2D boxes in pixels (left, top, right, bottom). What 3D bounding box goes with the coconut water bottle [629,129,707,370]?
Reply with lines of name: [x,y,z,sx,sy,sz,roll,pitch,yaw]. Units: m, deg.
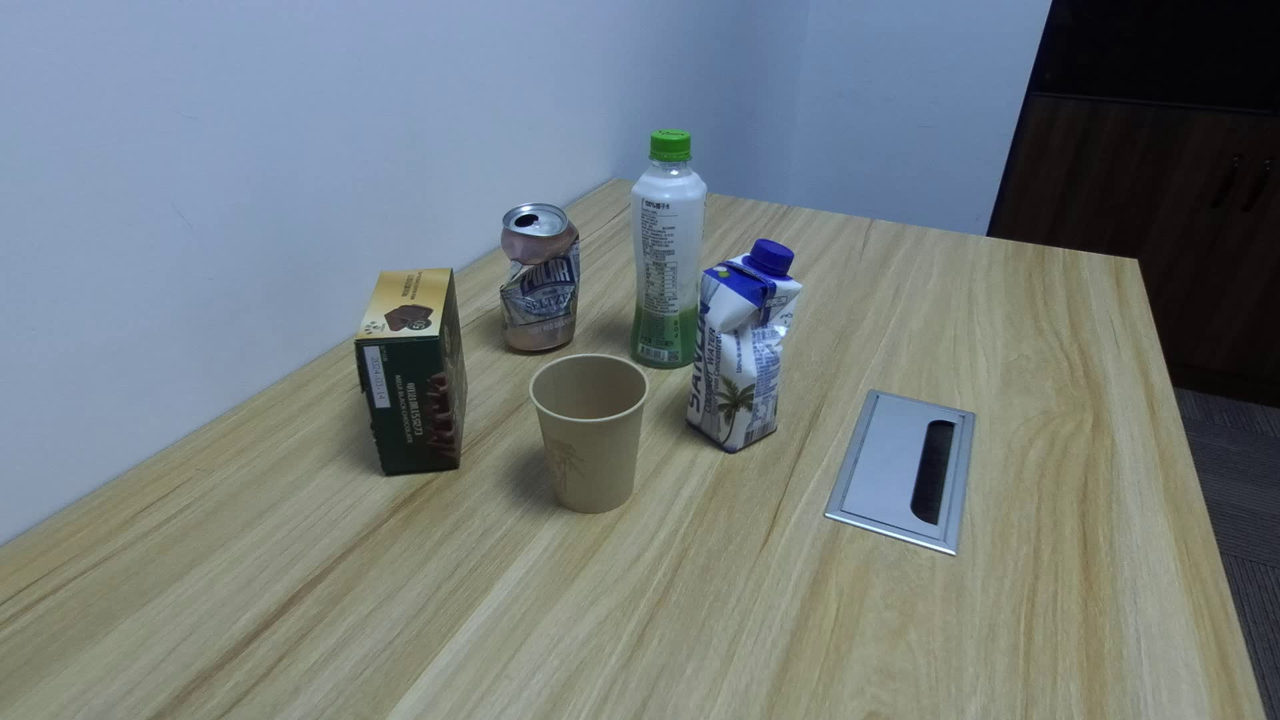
coconut water bottle: [0.025,-0.087,0.572,0.063,0.189,0.063,0,28,0]

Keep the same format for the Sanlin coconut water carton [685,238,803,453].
Sanlin coconut water carton: [0.071,-0.010,0.494,0.070,0.144,0.060,-21,38,-34]

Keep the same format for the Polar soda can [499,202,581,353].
Polar soda can: [-0.089,-0.067,0.615,0.066,0.122,0.071,12,32,12]

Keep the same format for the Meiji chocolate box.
Meiji chocolate box: [-0.159,0.006,0.507,0.056,0.109,0.109,-4,32,-8]

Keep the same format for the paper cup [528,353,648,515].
paper cup: [-0.031,0.051,0.456,0.075,0.082,0.075,0,32,0]
